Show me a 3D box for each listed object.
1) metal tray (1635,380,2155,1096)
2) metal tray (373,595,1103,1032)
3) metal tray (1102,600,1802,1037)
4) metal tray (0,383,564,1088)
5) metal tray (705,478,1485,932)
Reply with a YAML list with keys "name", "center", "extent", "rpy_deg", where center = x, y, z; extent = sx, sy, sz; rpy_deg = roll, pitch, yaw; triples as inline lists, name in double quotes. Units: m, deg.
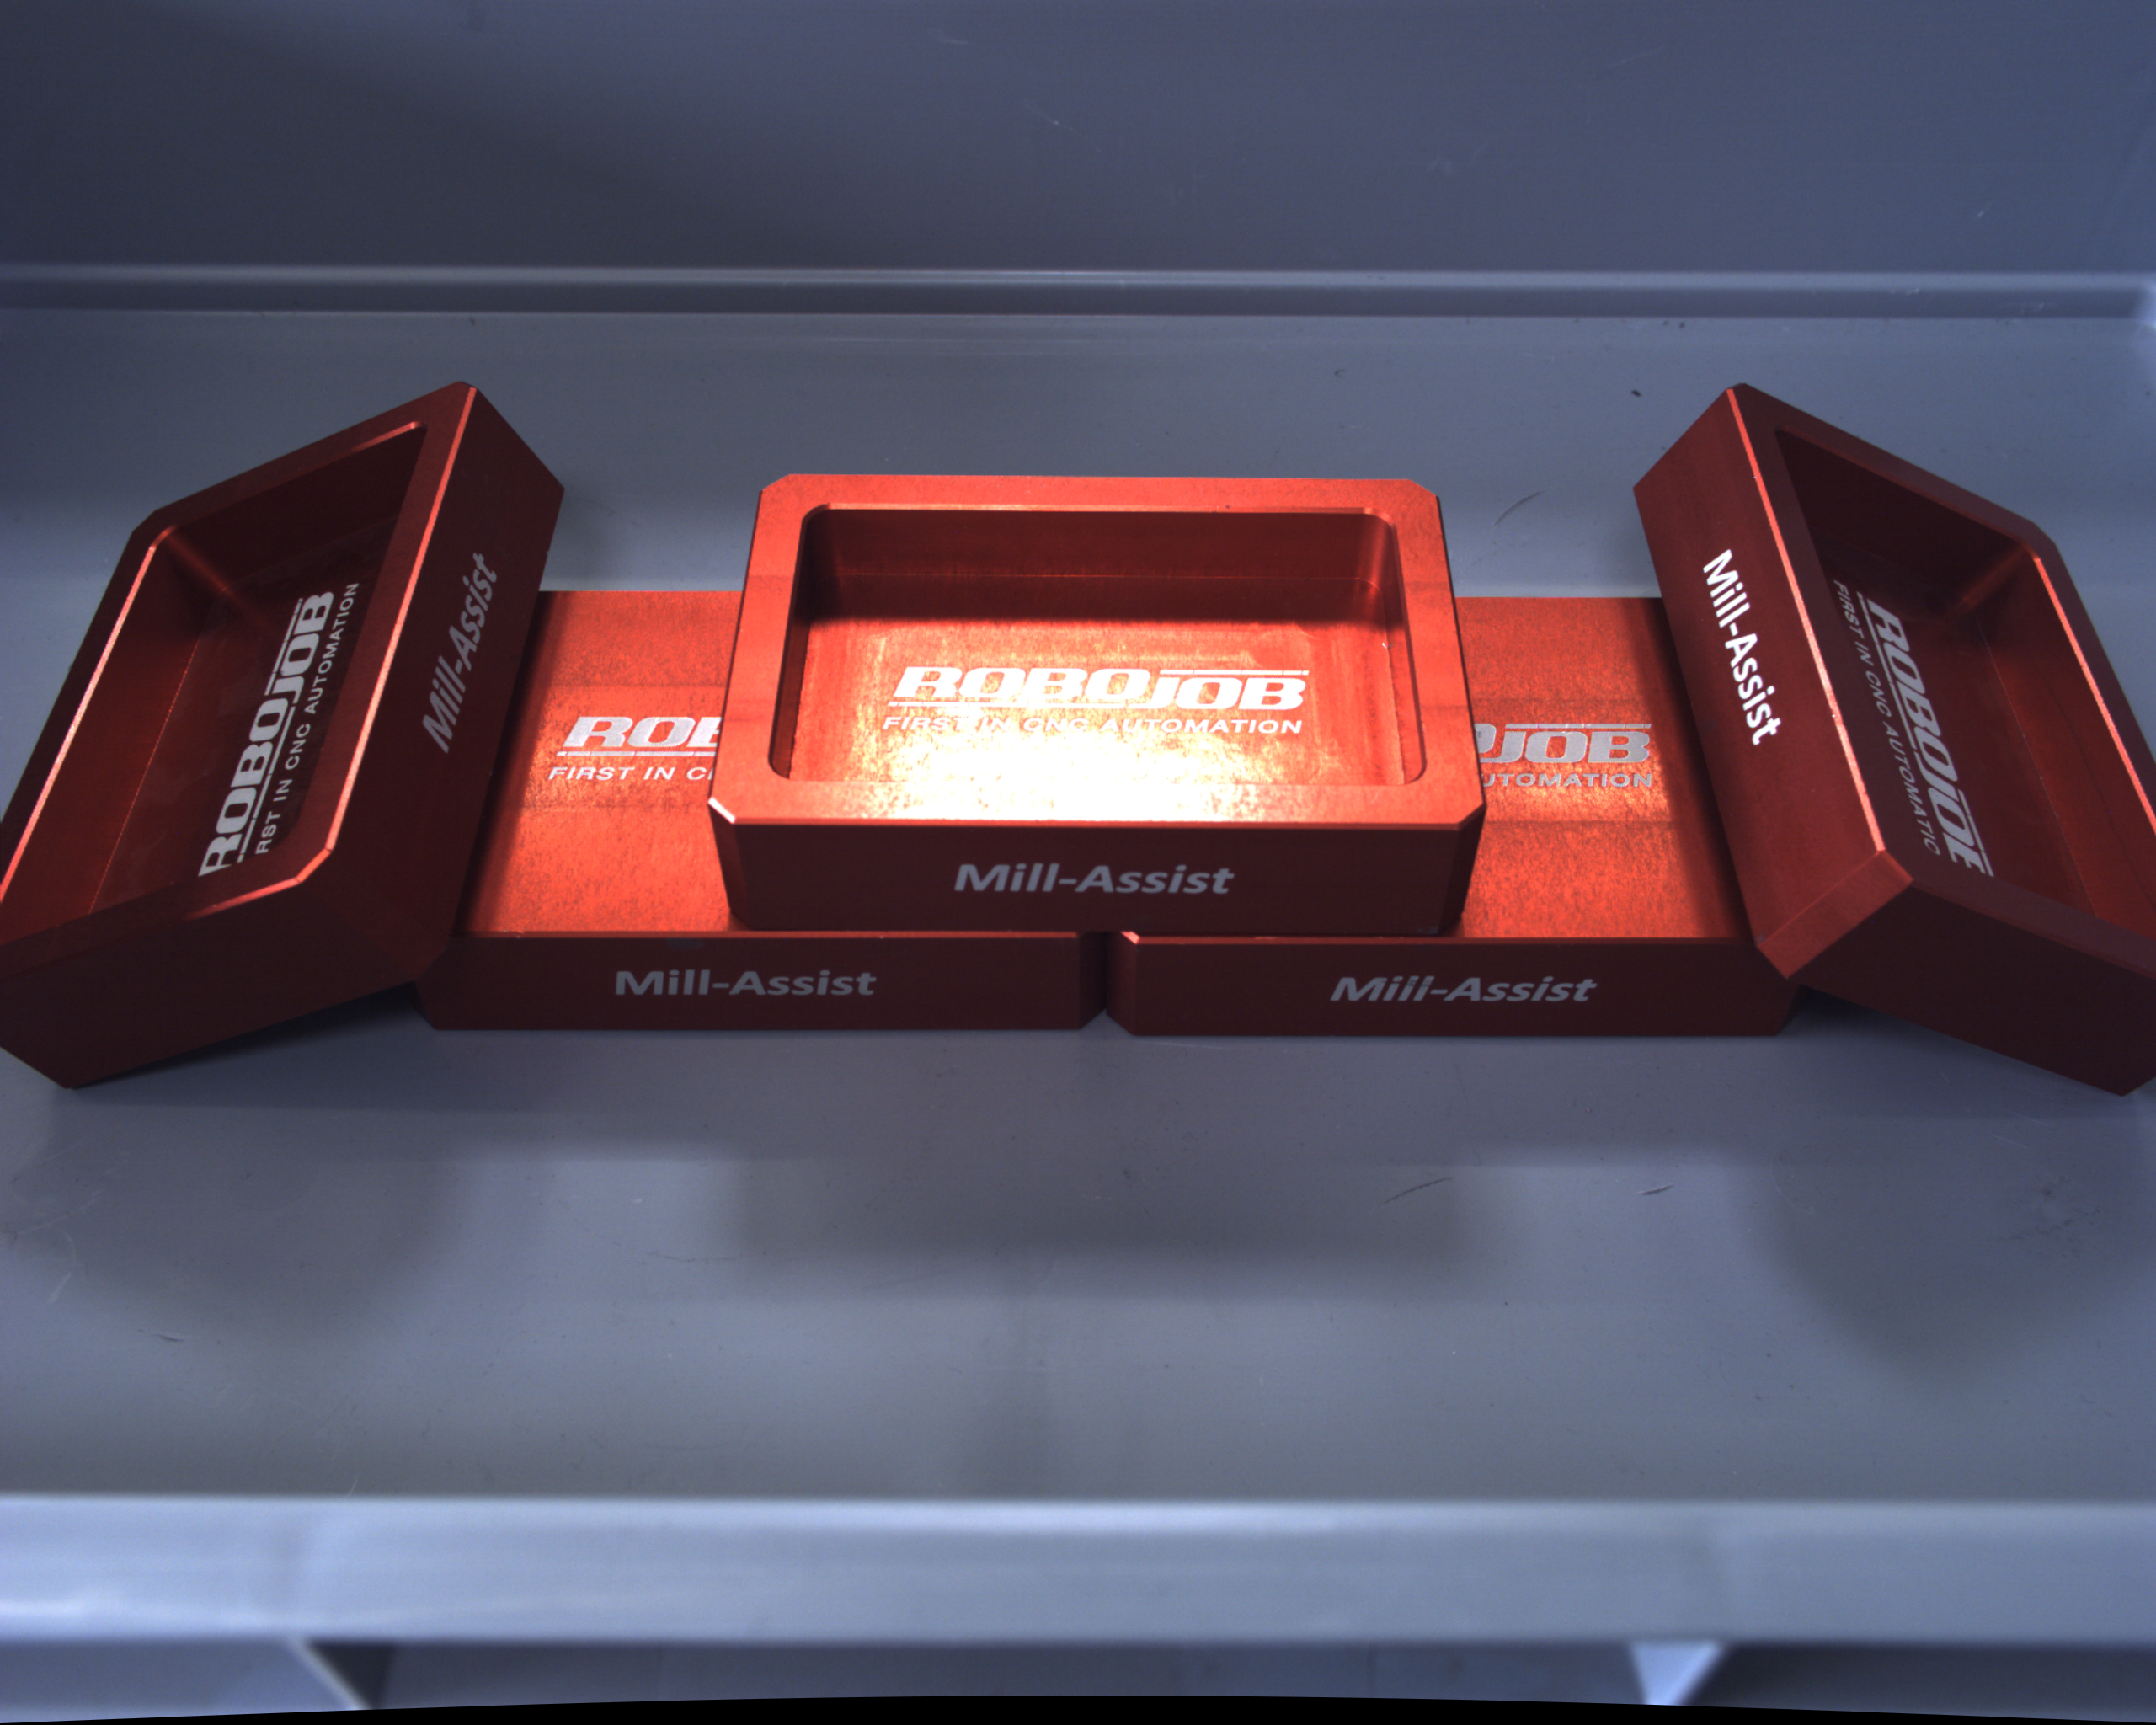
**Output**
- name: "metal tray"
  center: [0.161, -0.027, 0.398]
  extent: [0.091, 0.030, 0.130]
  rpy_deg: [19, 46, -21]
- name: "metal tray"
  center: [-0.061, -0.011, 0.410]
  extent: [0.131, 0.030, 0.090]
  rpy_deg: [0, 50, 0]
- name: "metal tray"
  center: [0.070, -0.011, 0.410]
  extent: [0.131, 0.030, 0.090]
  rpy_deg: [0, 50, 0]
- name: "metal tray"
  center: [-0.154, -0.027, 0.399]
  extent: [0.090, 0.030, 0.130]
  rpy_deg: [-16, 47, 19]
- name: "metal tray"
  center: [0.003, -0.031, 0.387]
  extent: [0.131, 0.030, 0.090]
  rpy_deg: [0, 49, 0]
